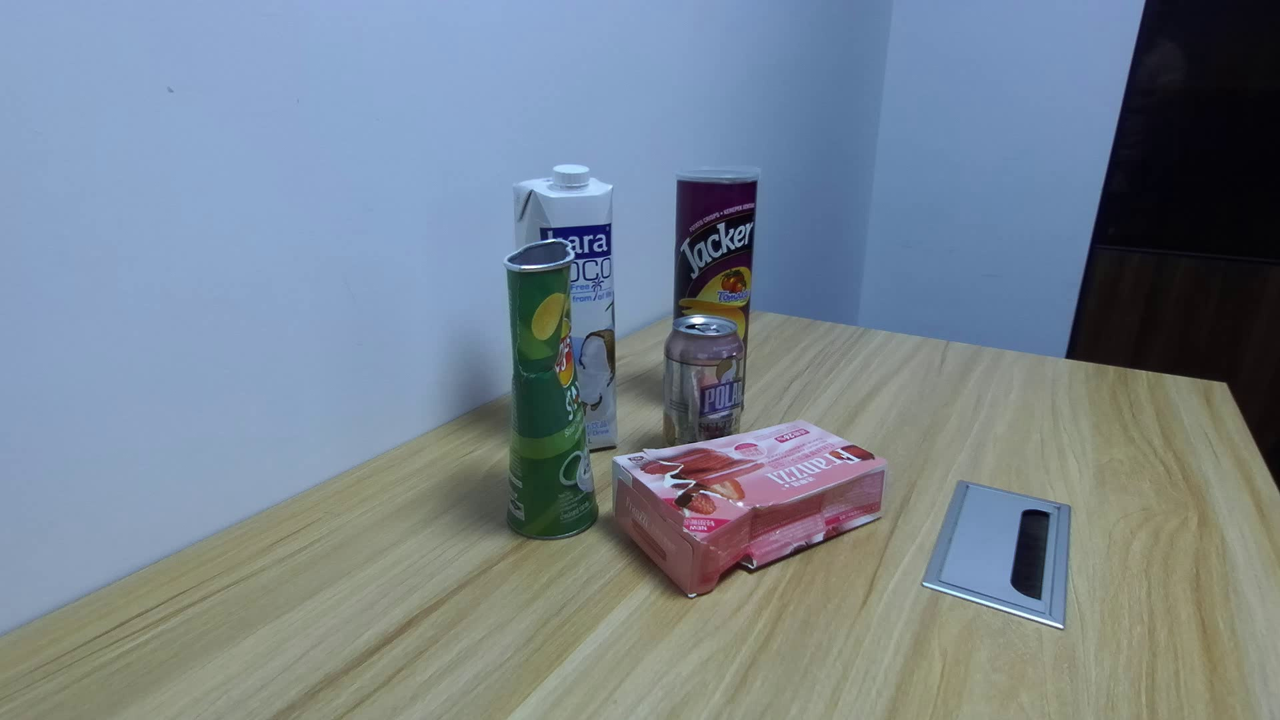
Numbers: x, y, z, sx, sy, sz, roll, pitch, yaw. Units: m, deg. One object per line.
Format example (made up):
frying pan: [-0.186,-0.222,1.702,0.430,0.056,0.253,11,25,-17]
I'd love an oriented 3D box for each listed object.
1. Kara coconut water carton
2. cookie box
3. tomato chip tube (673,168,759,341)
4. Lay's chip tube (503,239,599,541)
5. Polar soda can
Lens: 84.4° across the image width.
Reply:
Kara coconut water carton: [-0.063,-0.041,0.611,0.077,0.245,0.075,-8,19,-23]
cookie box: [0.083,0.092,0.513,0.187,0.059,0.104,-11,25,-32]
tomato chip tube: [0.071,-0.059,0.684,0.078,0.234,0.078,1,15,0]
Lay's chip tube: [-0.065,0.023,0.502,0.069,0.199,0.074,-13,23,-31]
Polar soda can: [0.055,0.028,0.600,0.067,0.125,0.067,1,19,0]
